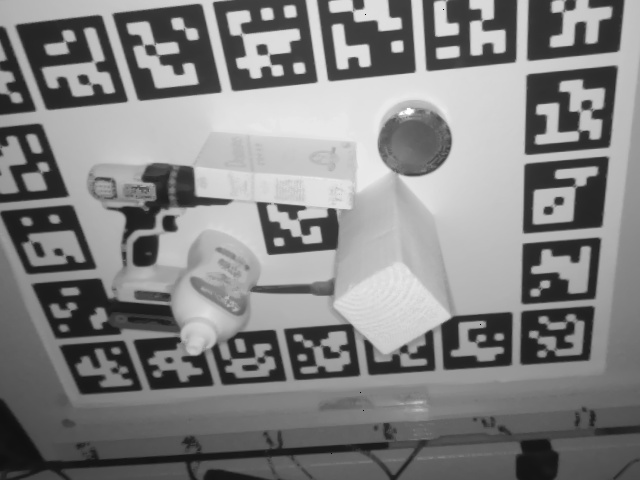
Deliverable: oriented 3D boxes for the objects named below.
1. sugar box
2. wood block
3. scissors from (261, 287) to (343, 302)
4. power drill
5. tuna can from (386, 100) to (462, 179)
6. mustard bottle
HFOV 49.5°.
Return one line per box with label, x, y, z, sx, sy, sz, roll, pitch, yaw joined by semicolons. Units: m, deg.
sugar box;-0.046;-0.086;0.792;0.176;0.094;0.045;7;122;1
wood block;0.085;0.016;0.786;0.090;0.208;0.090;-30;111;18
scissors;0.022;0.068;0.913;0.203;0.016;0.087;-2;122;4
power drill;-0.177;-0.008;0.858;0.185;0.058;0.185;8;111;-2
tuna can;0.119;-0.116;0.797;0.086;0.034;0.085;1;118;3
mustard bottle;-0.128;0.061;0.826;0.096;0.193;0.058;41;113;-16
